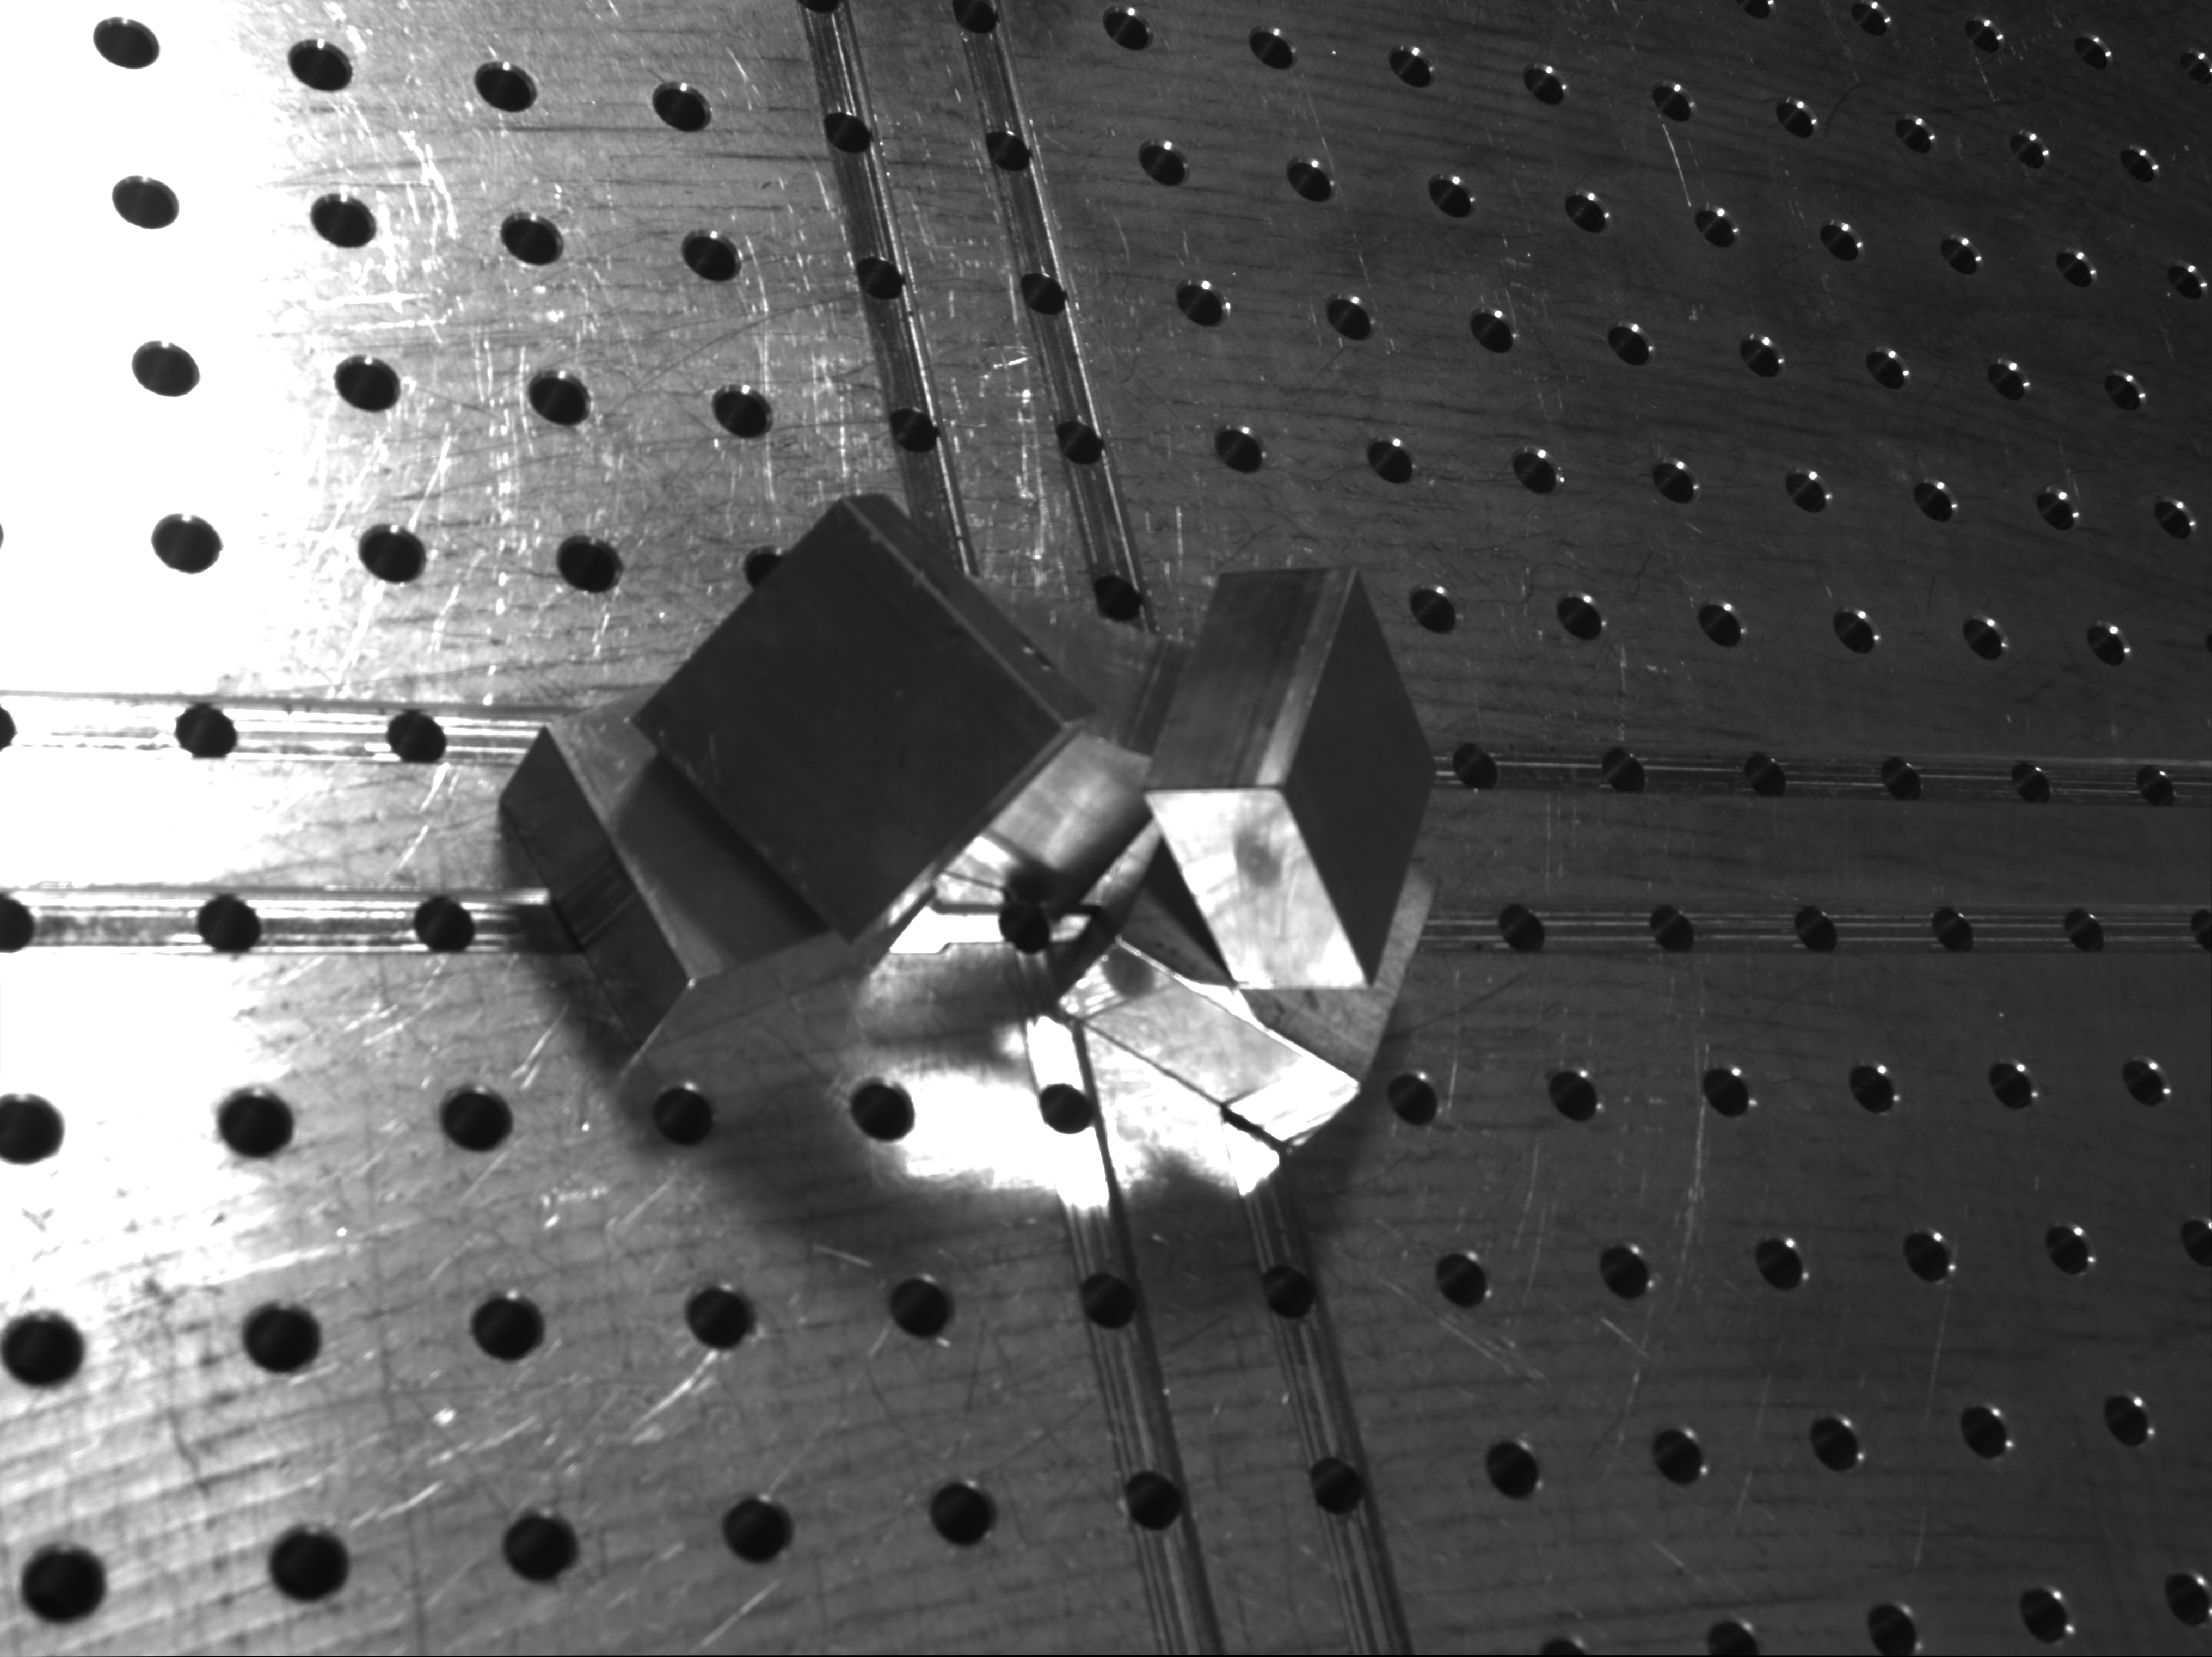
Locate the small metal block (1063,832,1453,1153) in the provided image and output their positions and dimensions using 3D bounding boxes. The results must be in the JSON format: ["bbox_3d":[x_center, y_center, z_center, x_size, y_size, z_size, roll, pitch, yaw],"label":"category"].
[{"bbox_3d":[0.027,0.020,0.645,0.050,0.025,0.050,31,52,-8],"label":"small metal block"}]

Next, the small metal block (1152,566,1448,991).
[{"bbox_3d":[0.034,-0.008,0.616,0.050,0.025,0.050,63,35,-42],"label":"small metal block"}]

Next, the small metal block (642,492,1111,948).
[{"bbox_3d":[-0.036,-0.018,0.583,0.050,0.050,0.025,45,13,3],"label":"small metal block"}]

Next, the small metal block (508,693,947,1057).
[{"bbox_3d":[-0.063,0.003,0.608,0.050,0.025,0.050,-21,73,-36],"label":"small metal block"}]

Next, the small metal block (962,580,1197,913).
[{"bbox_3d":[-0.015,-0.014,0.627,0.050,0.050,0.025,17,55,-18],"label":"small metal block"}]
